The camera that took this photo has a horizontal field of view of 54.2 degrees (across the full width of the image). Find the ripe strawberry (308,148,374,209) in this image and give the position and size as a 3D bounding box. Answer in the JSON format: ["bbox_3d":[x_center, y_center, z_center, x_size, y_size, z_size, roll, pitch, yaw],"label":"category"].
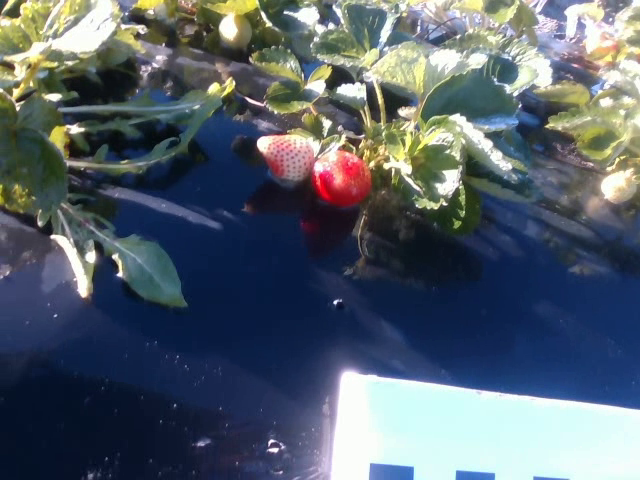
[{"bbox_3d":[0.014,-0.038,0.361,0.040,0.038,0.055,-12,-5,6],"label":"ripe strawberry"}]
